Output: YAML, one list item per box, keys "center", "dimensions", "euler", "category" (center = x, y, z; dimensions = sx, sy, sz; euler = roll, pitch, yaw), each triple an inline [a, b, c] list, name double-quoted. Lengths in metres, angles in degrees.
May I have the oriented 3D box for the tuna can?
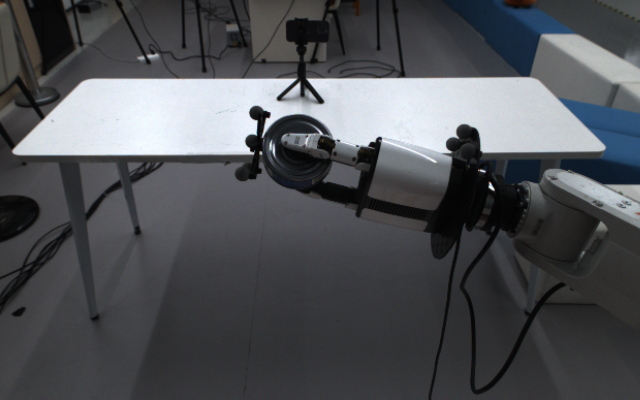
- center: [-0.024, -0.059, 0.577]
  dimensions: [0.085, 0.034, 0.085]
  euler: [1, 73, -5]
  category: "tuna can"
